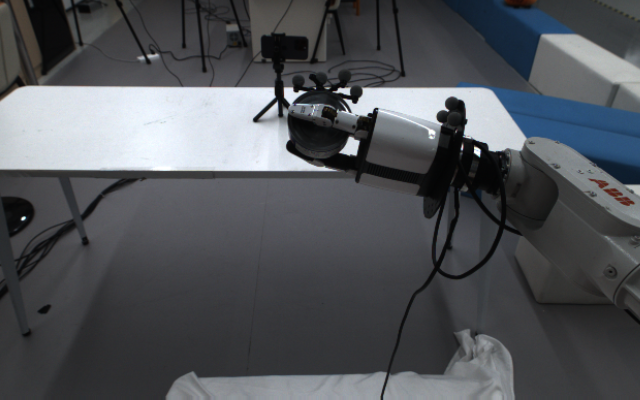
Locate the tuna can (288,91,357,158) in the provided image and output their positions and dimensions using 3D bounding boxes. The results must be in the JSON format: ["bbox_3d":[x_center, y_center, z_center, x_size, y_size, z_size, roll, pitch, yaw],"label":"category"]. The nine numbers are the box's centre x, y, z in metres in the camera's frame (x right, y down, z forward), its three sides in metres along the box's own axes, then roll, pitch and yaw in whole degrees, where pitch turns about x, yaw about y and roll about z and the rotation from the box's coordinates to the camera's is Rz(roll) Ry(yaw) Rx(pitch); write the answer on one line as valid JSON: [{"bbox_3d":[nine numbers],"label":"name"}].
[{"bbox_3d":[-0.001,-0.101,0.640,0.085,0.034,0.085,1,74,-3],"label":"tuna can"}]
